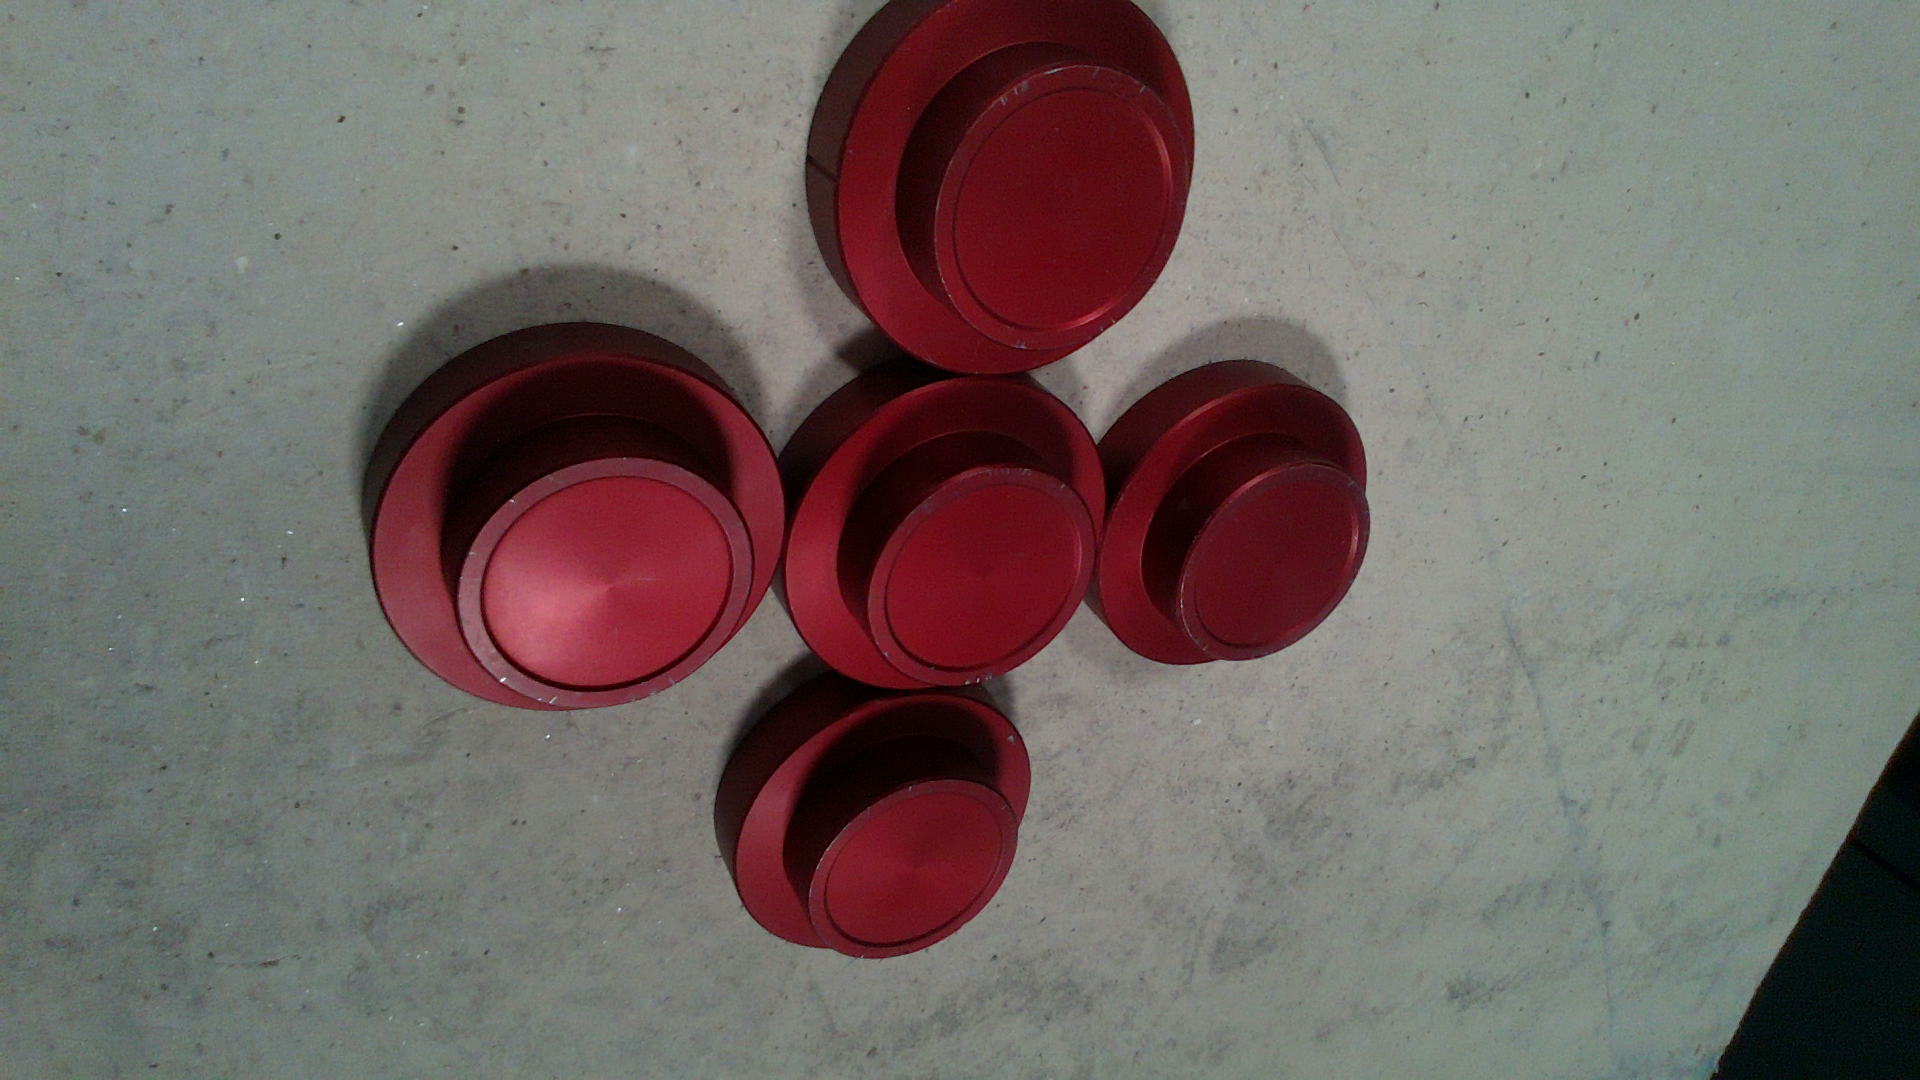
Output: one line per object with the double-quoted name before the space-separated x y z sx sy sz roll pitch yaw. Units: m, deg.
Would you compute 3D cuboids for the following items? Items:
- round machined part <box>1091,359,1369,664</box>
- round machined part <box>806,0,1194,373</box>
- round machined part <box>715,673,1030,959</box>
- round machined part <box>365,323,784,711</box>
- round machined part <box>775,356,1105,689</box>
"round machined part" 0.085 -0.002 0.423 0.098 0.042 0.098 -14 124 -21
"round machined part" 0.016 -0.086 0.335 0.098 0.042 0.098 -14 124 -21
"round machined part" -0.022 0.088 0.420 0.098 0.042 0.098 -14 124 -21
"round machined part" -0.089 0.001 0.331 0.098 0.042 0.098 -14 124 -21
"round machined part" -0.002 0.001 0.378 0.098 0.042 0.098 -14 124 -21
